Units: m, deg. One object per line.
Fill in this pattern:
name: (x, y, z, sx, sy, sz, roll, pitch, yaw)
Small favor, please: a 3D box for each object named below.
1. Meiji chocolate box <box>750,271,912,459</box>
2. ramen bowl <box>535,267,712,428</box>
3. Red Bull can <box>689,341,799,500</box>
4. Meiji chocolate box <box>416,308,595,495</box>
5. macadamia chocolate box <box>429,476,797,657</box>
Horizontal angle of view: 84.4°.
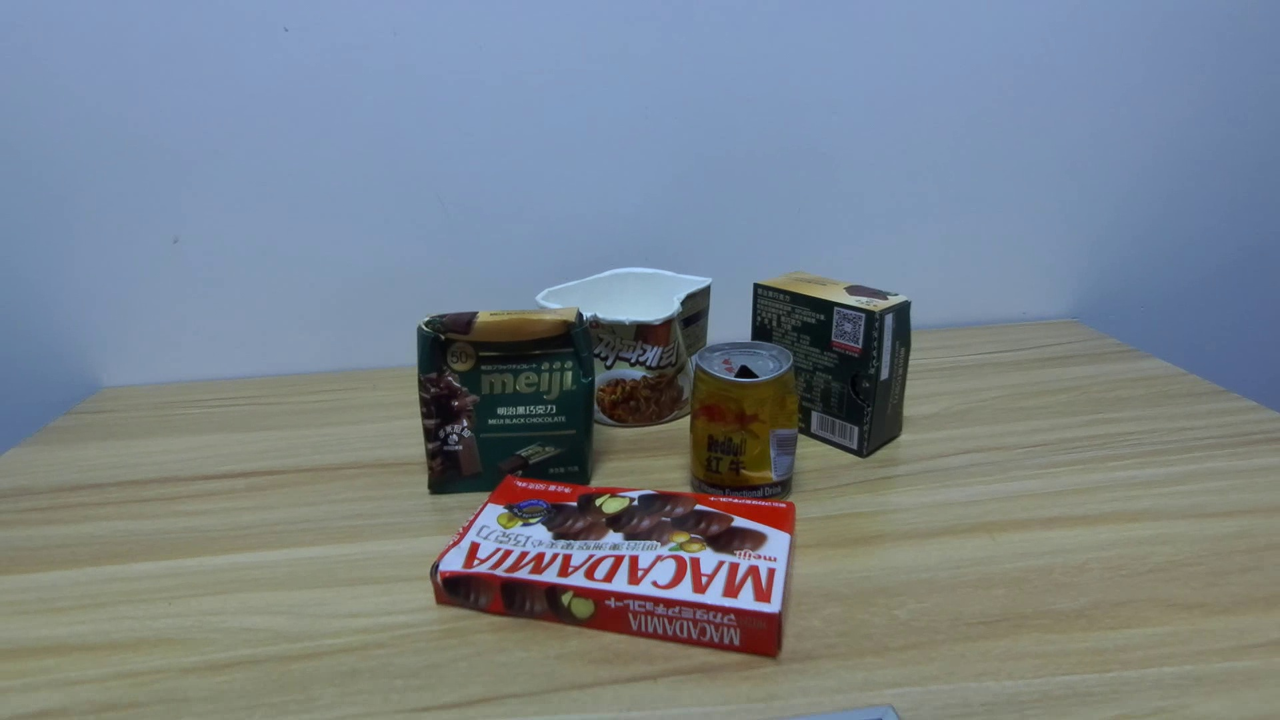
Meiji chocolate box: (0.139, -0.001, 0.518, 0.058, 0.111, 0.112, -18, 26, -37)
ramen bowl: (-0.015, -0.013, 0.576, 0.133, 0.097, 0.114, 6, 25, 16)
Red Bull can: (0.064, 0.040, 0.442, 0.072, 0.092, 0.072, -1, 22, 1)
Meiji chocolate box: (-0.088, 0.025, 0.475, 0.117, 0.117, 0.051, -3, 15, -1)
macadamia chocolate box: (-0.011, 0.104, 0.385, 0.182, 0.028, 0.106, 3, 21, 15)
